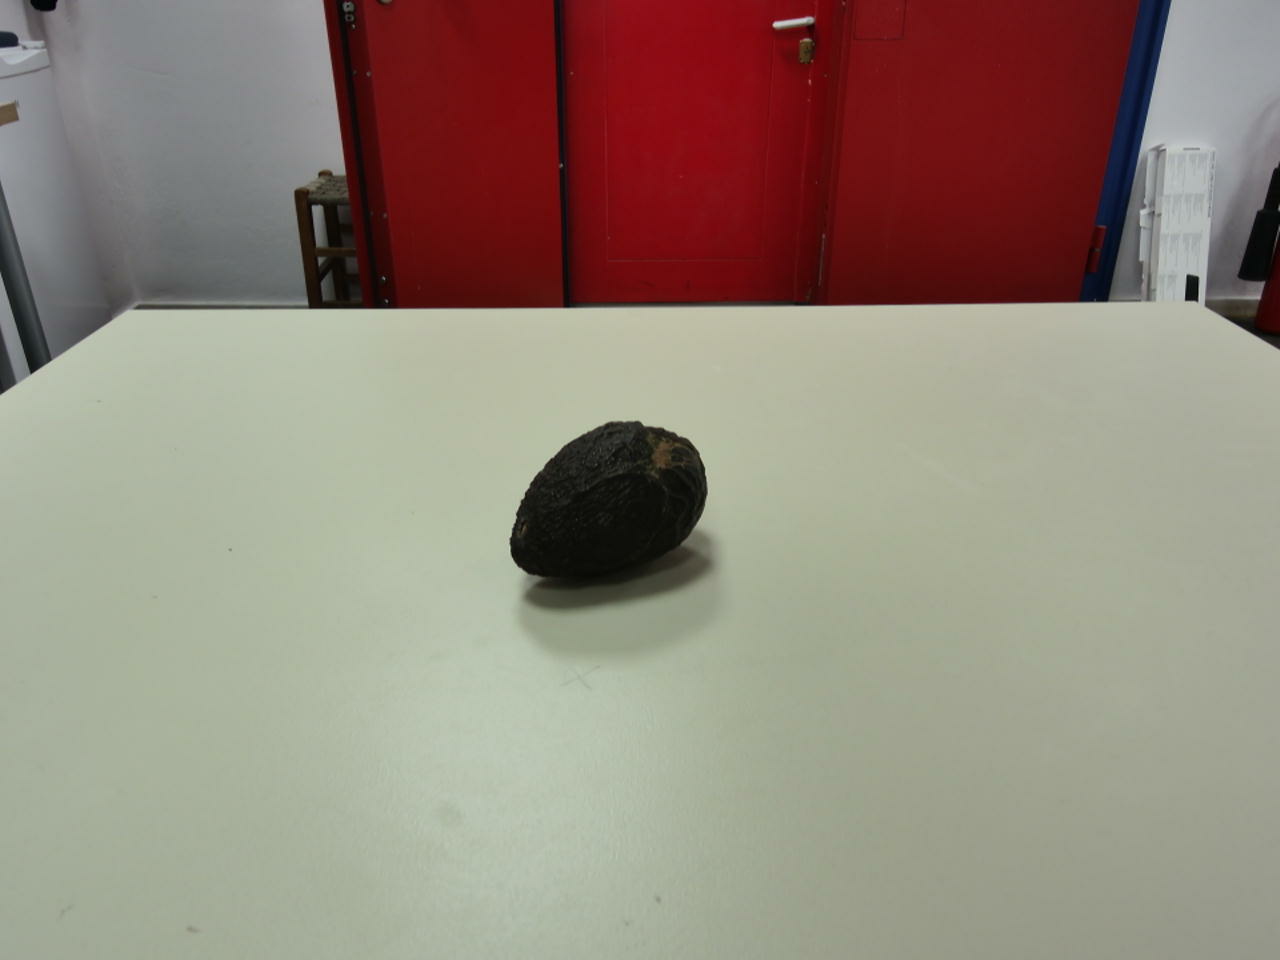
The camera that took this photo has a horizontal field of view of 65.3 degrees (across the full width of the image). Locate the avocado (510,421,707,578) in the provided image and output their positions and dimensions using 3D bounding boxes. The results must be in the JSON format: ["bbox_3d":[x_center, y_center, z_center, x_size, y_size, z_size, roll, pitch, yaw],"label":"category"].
[{"bbox_3d":[-0.014,0.008,0.426,0.092,0.062,0.062,-11,27,-22],"label":"avocado"}]
